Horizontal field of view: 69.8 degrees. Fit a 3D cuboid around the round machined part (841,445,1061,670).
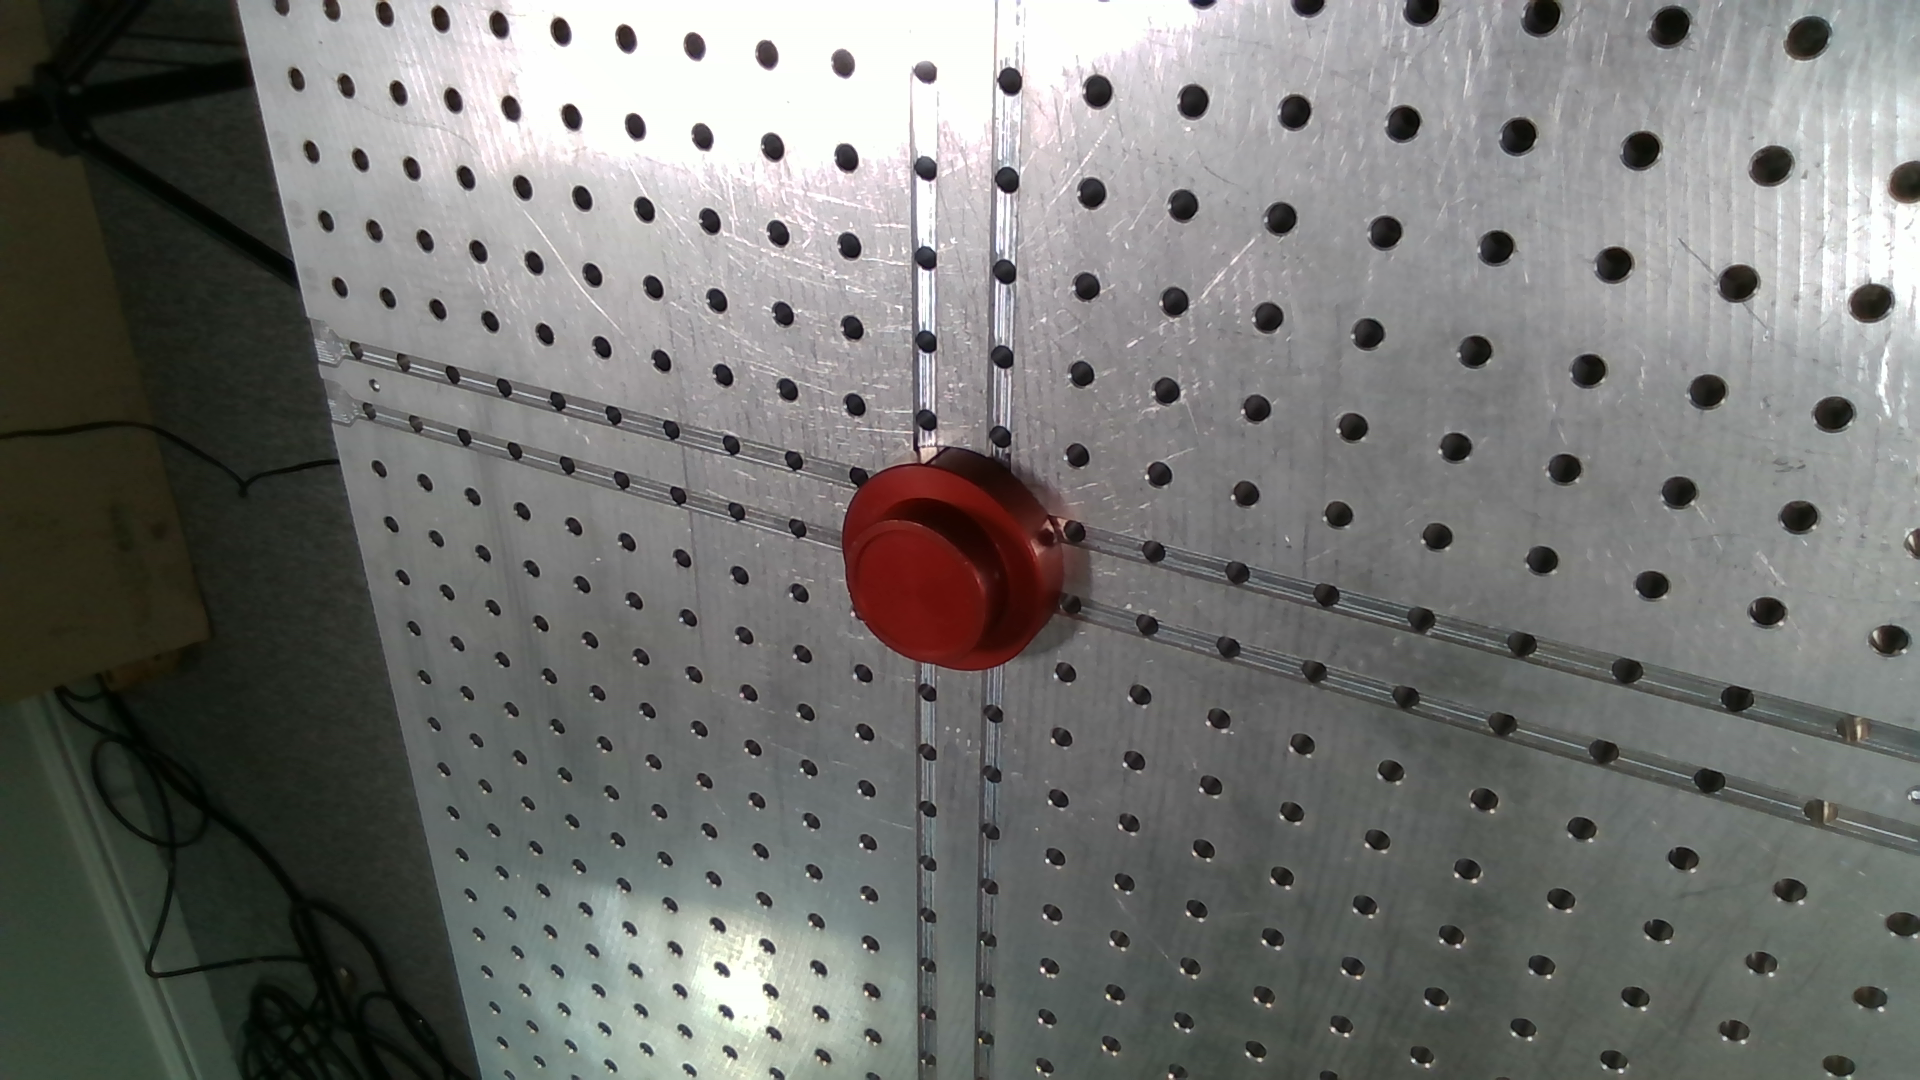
[{"bbox_3d":[-0.010,0.013,0.584,0.098,0.042,0.098,14,122,25],"label":"round machined part"}]
